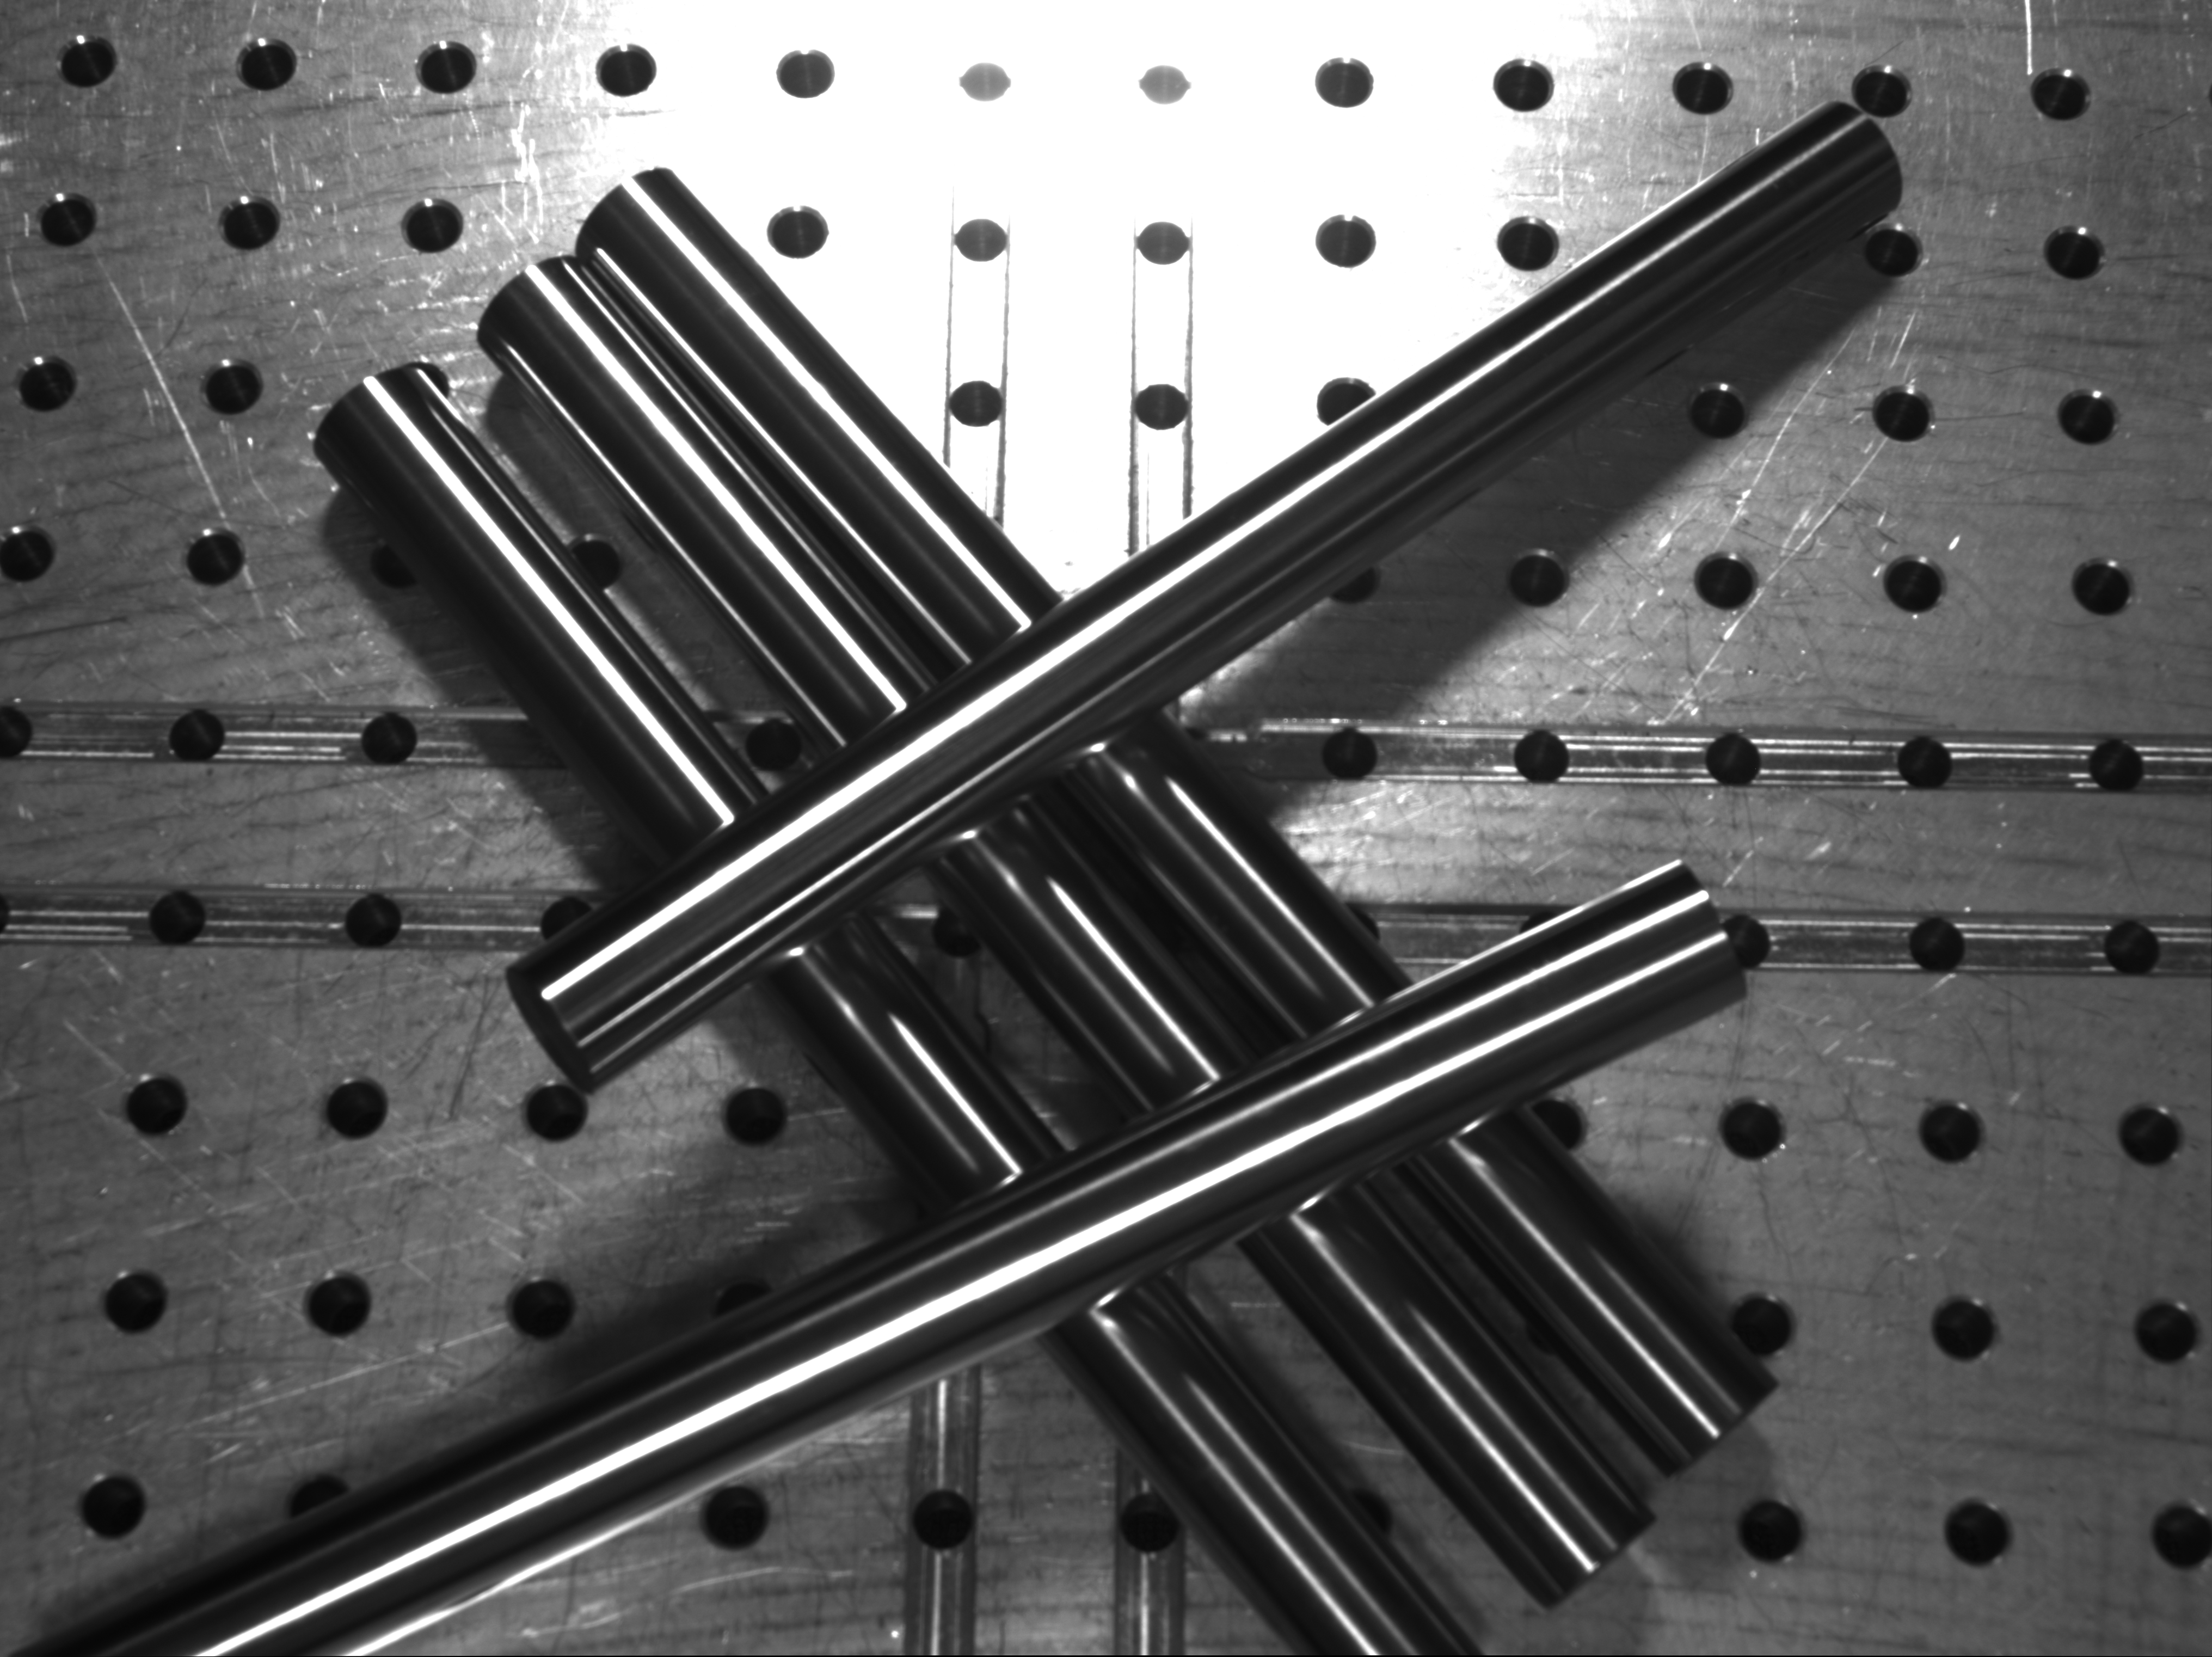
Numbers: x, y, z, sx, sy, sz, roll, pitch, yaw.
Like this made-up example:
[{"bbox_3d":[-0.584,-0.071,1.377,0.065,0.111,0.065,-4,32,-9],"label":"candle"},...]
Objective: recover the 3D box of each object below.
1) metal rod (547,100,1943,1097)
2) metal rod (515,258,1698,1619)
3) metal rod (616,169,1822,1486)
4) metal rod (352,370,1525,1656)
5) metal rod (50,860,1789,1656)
[{"bbox_3d":[0.033,-0.047,0.643,0.300,0.025,0.025,-34,73,-20],"label":"metal rod"},{"bbox_3d":[-0.006,0.012,0.643,0.025,0.025,0.300,-37,74,-12],"label":"metal rod"},{"bbox_3d":[0.014,-0.007,0.650,0.025,0.025,0.300,-38,74,-13],"label":"metal rod"},{"bbox_3d":[-0.034,0.034,0.635,0.025,0.025,0.300,-37,74,-12],"label":"metal rod"},{"bbox_3d":[-0.030,0.081,0.595,0.300,0.025,0.025,-25,72,0],"label":"metal rod"}]
